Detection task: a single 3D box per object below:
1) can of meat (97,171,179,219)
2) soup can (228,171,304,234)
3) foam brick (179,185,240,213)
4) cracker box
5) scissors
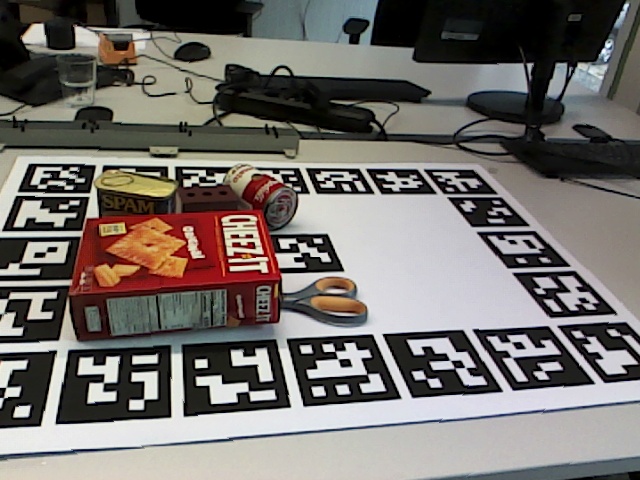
[{"bbox_3d":[-0.243,-0.039,0.832,0.102,0.083,0.058,7,33,-1],"label":"can of meat"},{"bbox_3d":[-0.084,-0.059,0.929,0.103,0.068,0.067,25,36,34],"label":"soup can"},{"bbox_3d":[-0.159,-0.042,0.889,0.078,0.051,0.053,-7,36,-22],"label":"foam brick"},{"bbox_3d":[-0.164,0.032,0.725,0.213,0.072,0.165,-7,34,-15],"label":"cracker box"},{"bbox_3d":[-0.048,0.076,0.738,0.202,0.016,0.088,-4,35,-17],"label":"scissors"}]
